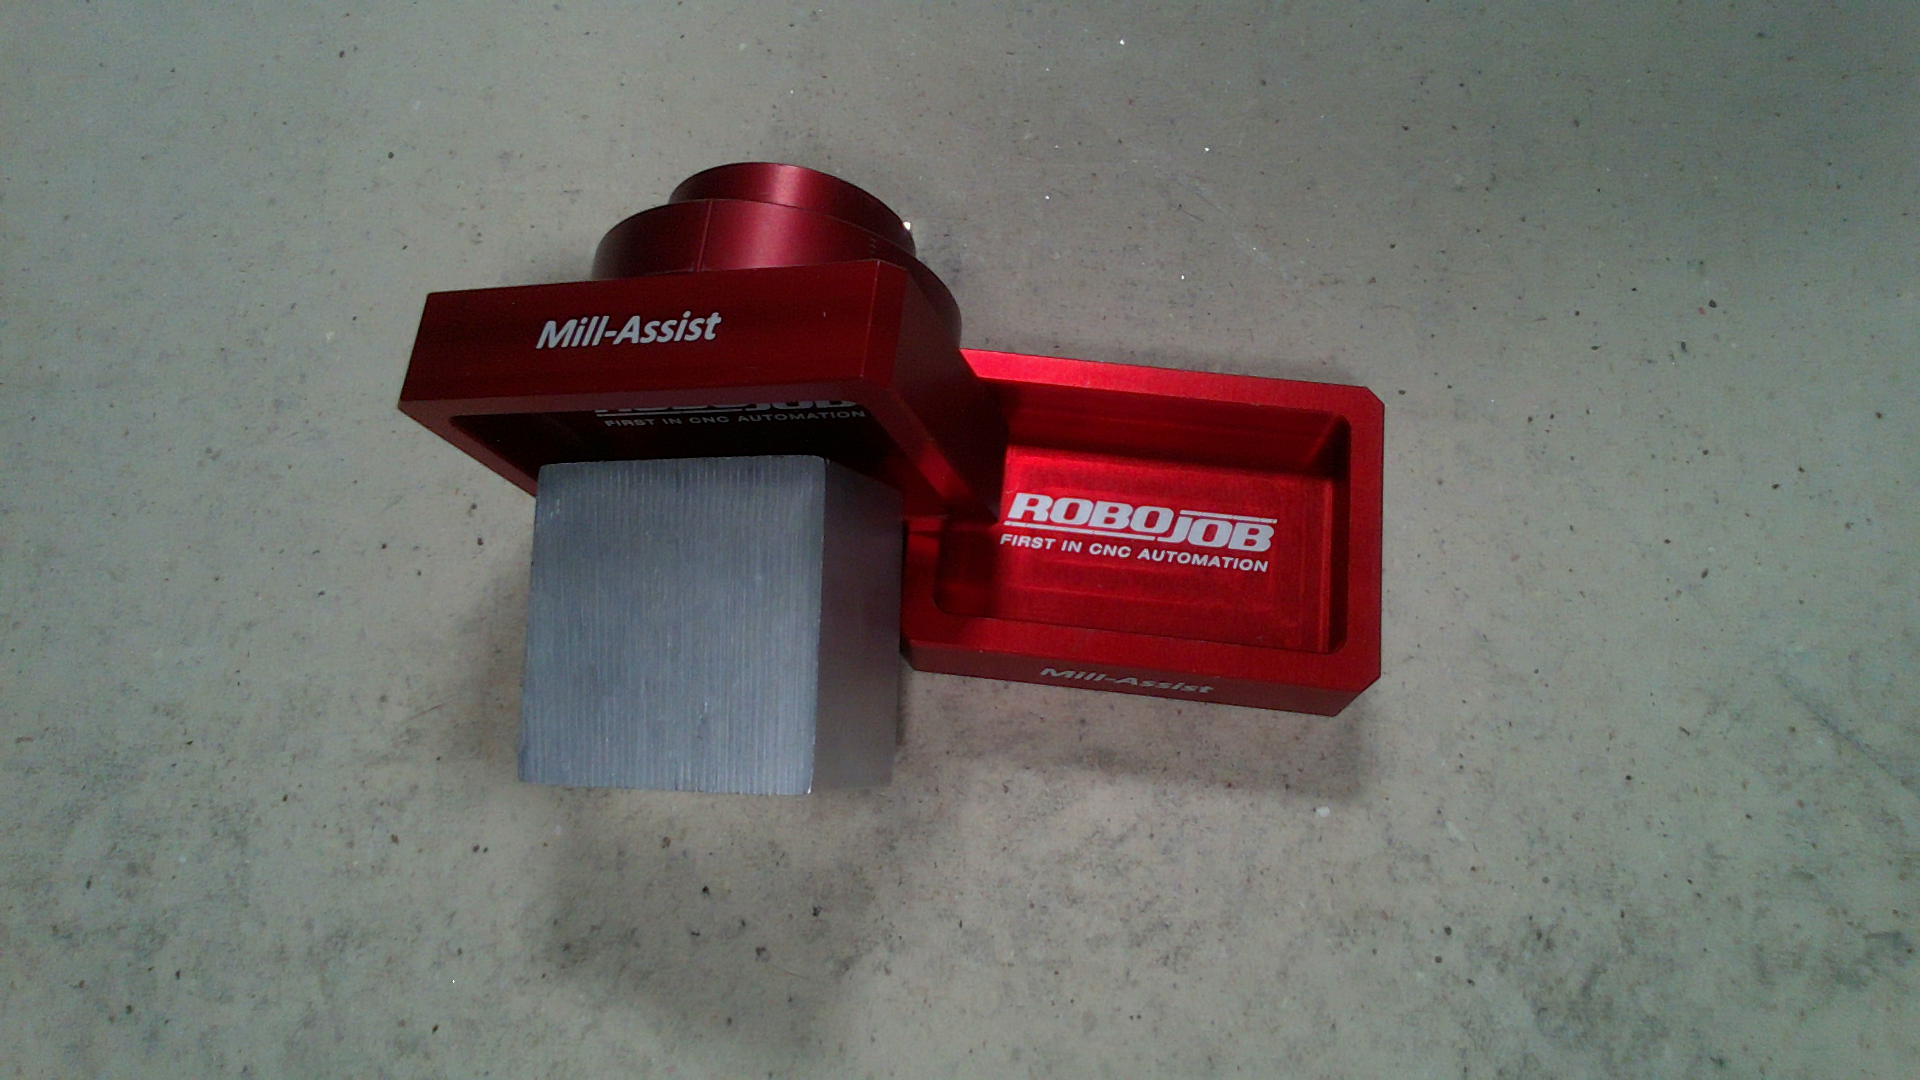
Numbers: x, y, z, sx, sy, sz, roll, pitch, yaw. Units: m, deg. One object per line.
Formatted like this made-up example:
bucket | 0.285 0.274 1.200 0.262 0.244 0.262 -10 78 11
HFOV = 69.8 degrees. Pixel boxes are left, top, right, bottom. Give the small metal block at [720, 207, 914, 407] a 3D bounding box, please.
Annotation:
small metal block | -0.042 -0.071 0.421 0.050 0.025 0.050 6 70 2

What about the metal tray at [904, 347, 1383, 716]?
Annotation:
metal tray | 0.051 -0.003 0.393 0.130 0.030 0.090 6 70 2

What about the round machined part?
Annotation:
round machined part | -0.048 -0.064 0.368 0.098 0.098 0.042 6 70 2

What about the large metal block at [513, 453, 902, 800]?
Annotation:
large metal block | -0.062 0.023 0.353 0.080 0.050 0.080 -1 82 19

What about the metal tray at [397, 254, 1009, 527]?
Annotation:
metal tray | -0.062 -0.033 0.354 0.130 0.090 0.030 0 69 20
